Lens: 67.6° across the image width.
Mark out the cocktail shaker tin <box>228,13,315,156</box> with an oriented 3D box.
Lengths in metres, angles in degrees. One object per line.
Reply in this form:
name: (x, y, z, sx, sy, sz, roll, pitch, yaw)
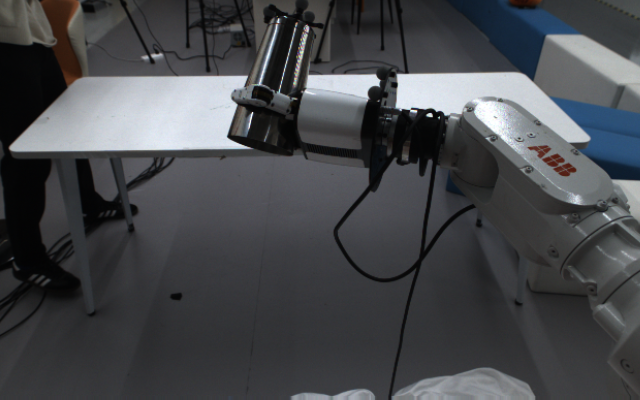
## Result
cocktail shaker tin: (-0.060, -0.155, 0.658, 0.093, 0.170, 0.093, 15, -4, 1)
